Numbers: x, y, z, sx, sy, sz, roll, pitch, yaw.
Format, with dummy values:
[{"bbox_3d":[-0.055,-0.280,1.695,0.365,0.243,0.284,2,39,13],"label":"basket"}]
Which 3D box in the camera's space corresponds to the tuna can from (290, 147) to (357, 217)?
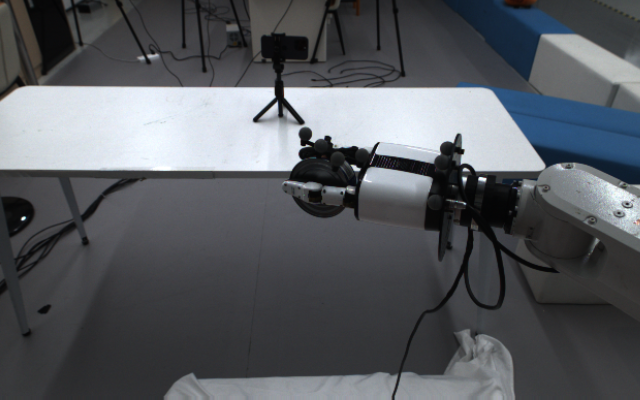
[{"bbox_3d":[0.007,-0.022,0.643,0.085,0.085,0.034,16,28,19],"label":"tuna can"}]
